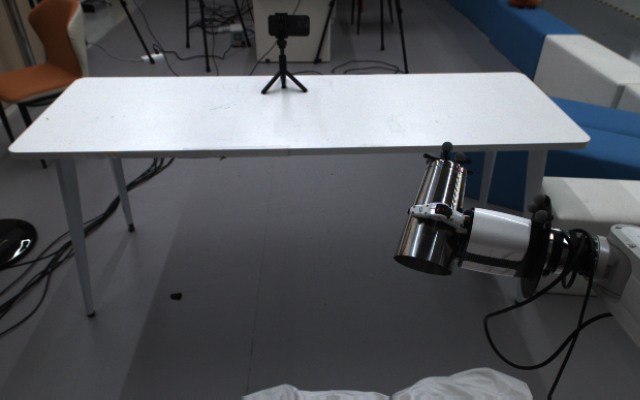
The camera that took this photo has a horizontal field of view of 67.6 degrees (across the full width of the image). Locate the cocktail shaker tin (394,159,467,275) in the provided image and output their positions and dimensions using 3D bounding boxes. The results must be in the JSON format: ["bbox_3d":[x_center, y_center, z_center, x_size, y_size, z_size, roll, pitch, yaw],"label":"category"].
[{"bbox_3d":[0.185,0.025,0.776,0.093,0.093,0.170,14,73,16],"label":"cocktail shaker tin"}]
